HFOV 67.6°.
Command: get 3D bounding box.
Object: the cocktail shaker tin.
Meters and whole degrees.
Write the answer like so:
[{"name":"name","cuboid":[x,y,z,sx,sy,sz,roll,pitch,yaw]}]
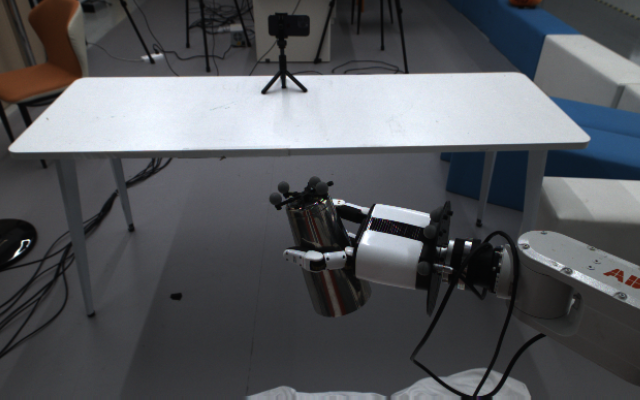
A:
[{"name":"cocktail shaker tin","cuboid":[0.008,0.074,0.708,0.093,0.170,0.093,-17,20,7]}]
